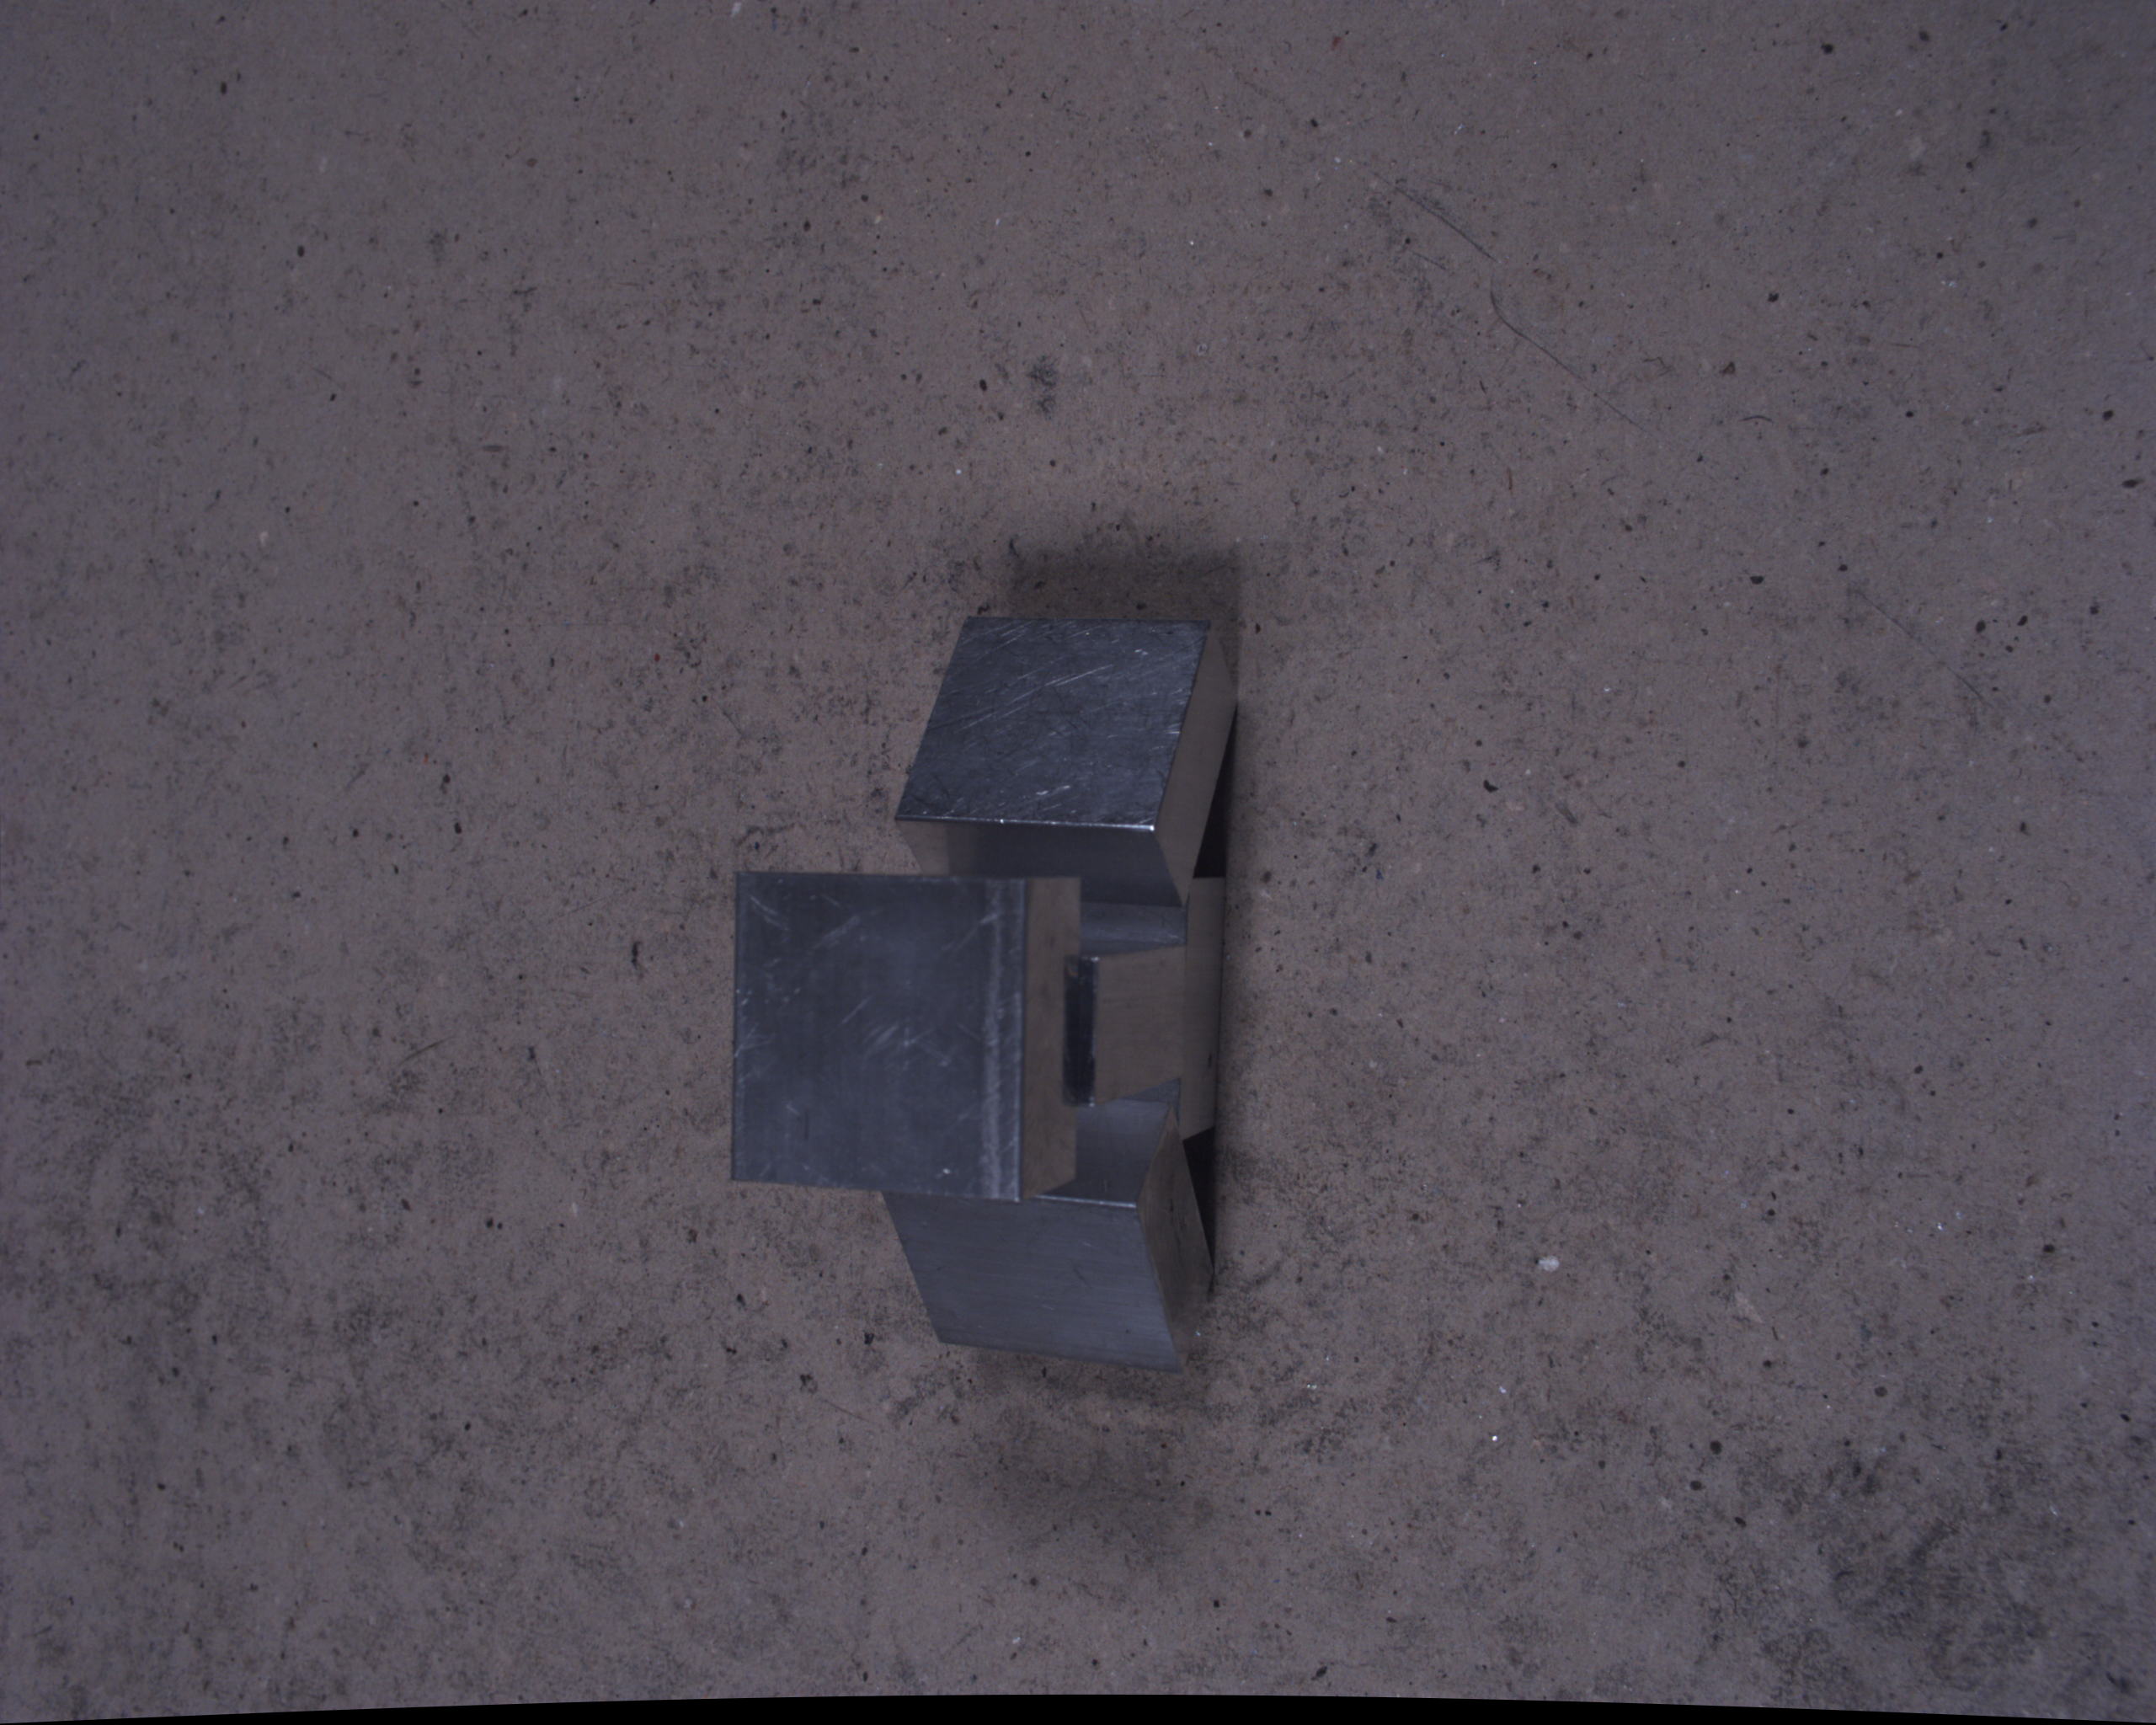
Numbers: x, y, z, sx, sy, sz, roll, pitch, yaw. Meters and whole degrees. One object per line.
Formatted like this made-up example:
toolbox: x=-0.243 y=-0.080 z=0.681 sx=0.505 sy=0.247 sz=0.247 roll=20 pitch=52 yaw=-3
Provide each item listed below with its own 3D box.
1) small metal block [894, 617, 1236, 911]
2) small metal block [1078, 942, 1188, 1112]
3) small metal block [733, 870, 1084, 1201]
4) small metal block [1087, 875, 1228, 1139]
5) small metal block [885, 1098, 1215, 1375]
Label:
small metal block: x=-0.001 y=-0.020 z=0.397 sx=0.050 sy=0.025 sz=0.050 roll=3 pitch=55 yaw=20
small metal block: x=-0.012 y=0.027 z=0.373 sx=0.050 sy=0.050 sz=0.025 roll=3 pitch=91 yaw=19
small metal block: x=-0.027 y=0.026 z=0.339 sx=0.050 sy=0.025 sz=0.050 roll=1 pitch=90 yaw=19
small metal block: x=0.001 y=0.026 z=0.410 sx=0.050 sy=0.025 sz=0.050 roll=3 pitch=91 yaw=19
small metal block: x=-0.005 y=0.069 z=0.398 sx=0.050 sy=0.025 sz=0.050 roll=3 pitch=132 yaw=19
